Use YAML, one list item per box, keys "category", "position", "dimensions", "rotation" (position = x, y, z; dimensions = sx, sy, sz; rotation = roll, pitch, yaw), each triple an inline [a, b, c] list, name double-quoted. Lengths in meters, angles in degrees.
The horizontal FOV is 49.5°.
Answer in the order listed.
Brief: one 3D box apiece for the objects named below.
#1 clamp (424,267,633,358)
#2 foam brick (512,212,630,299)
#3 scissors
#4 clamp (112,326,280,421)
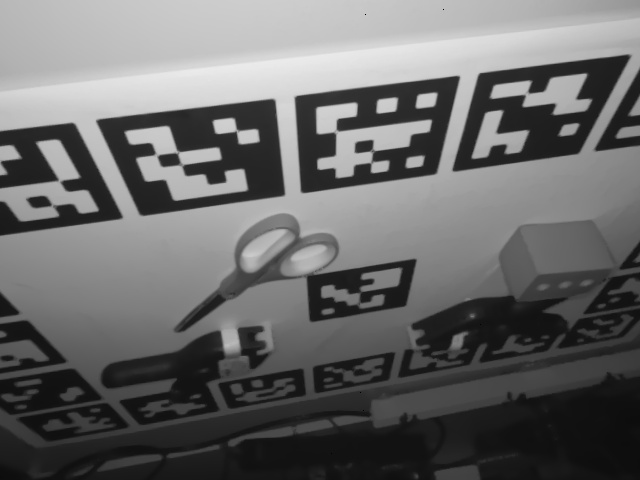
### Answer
- category: "clamp"
  position: [0.213, 0.091, 0.739]
  dimensions: [0.203, 0.037, 0.164]
  rotation: [-10, 148, -1]
- category: "foam brick"
  position: [0.226, 0.014, 0.628]
  dimensions: [0.079, 0.051, 0.052]
  rotation: [-8, 143, -14]
- category: "scissors"
  position: [-0.055, 0.035, 0.595]
  dimensions: [0.088, 0.016, 0.199]
  rotation: [24, 133, -30]
- category: "clamp"
  position: [-0.110, 0.131, 0.705]
  dimensions: [0.163, 0.037, 0.122]
  rotation: [-26, 135, 17]
